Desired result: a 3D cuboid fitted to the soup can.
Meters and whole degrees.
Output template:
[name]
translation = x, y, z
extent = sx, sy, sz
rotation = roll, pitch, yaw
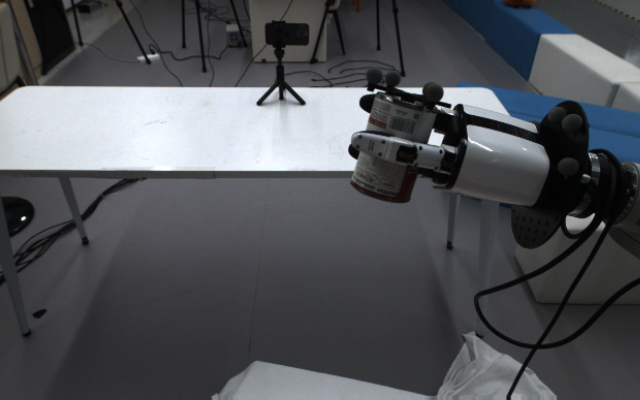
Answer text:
[soup can]
translation = 0.080, -0.056, 0.515
extent = 0.067, 0.101, 0.067
rotation = 13, 18, -4
